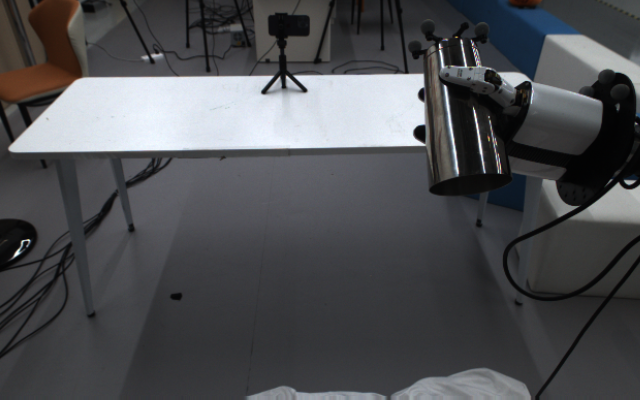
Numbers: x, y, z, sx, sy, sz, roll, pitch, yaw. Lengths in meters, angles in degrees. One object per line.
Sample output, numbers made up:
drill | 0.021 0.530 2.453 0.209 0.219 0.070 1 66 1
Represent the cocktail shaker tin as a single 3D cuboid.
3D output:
cocktail shaker tin | 0.166 -0.099 0.569 0.093 0.093 0.170 -3 76 -8
